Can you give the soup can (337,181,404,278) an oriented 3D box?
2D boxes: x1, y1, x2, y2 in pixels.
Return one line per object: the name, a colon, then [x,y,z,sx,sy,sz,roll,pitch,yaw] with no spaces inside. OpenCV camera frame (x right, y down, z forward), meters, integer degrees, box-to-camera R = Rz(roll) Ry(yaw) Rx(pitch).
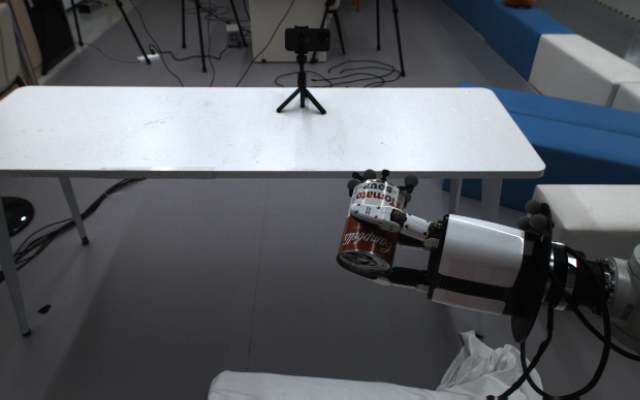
soup can: [0.066,0.032,0.594,0.067,0.067,0.101,9,61,10]
